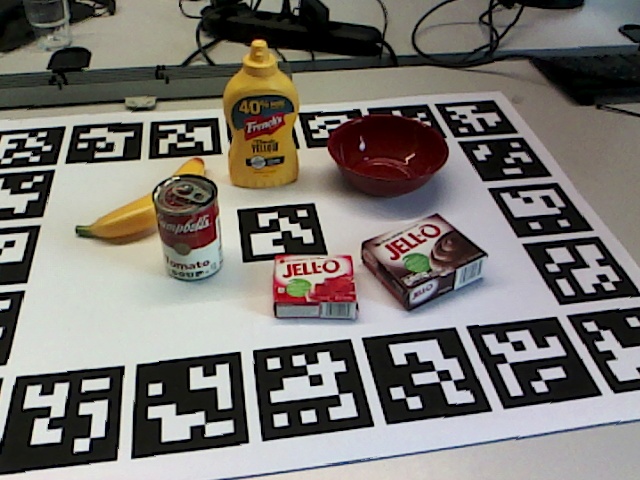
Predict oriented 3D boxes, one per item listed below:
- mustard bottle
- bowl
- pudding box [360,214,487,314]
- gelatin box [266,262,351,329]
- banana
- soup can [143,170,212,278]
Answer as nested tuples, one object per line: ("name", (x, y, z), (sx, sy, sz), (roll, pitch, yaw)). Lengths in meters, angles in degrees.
("mustard bottle", (-0.075, -0.161, 0.785), (0.096, 0.191, 0.059), (-4, 39, -8))
("bowl", (0.093, -0.103, 0.848), (0.161, 0.055, 0.162), (0, 41, 0))
("pudding box", (0.117, 0.026, 0.709), (0.113, 0.038, 0.090), (-22, 52, -25))
("gelatin box", (-0.013, 0.059, 0.674), (0.089, 0.030, 0.073), (-1, 44, -2))
("banana", (-0.216, -0.056, 0.792), (0.075, 0.039, 0.197), (16, 42, 30))
("soup can", (-0.156, -0.017, 0.687), (0.068, 0.102, 0.068), (2, 39, -2))
